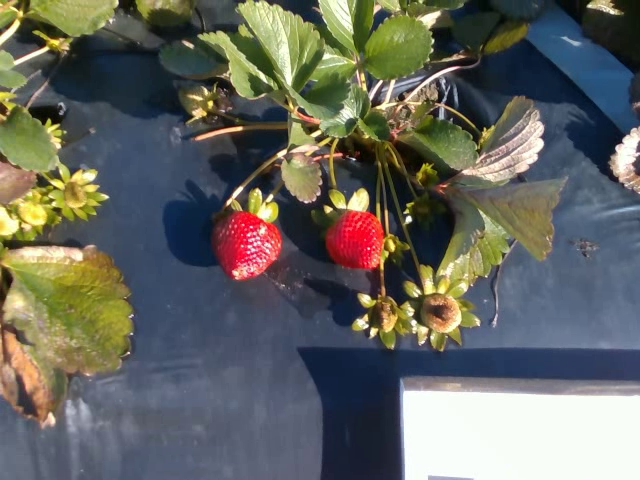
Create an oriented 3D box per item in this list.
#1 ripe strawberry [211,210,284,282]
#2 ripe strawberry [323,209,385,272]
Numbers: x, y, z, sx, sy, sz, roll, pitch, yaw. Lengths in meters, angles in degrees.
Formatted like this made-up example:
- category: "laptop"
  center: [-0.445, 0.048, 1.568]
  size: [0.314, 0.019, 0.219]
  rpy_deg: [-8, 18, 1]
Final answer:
- category: "ripe strawberry"
  center: [-0.048, 0.007, 0.352]
  size: [0.050, 0.045, 0.050]
  rpy_deg: [17, 37, -4]
- category: "ripe strawberry"
  center: [0.025, 0.004, 0.353]
  size: [0.039, 0.042, 0.049]
  rpy_deg: [38, 16, -35]
